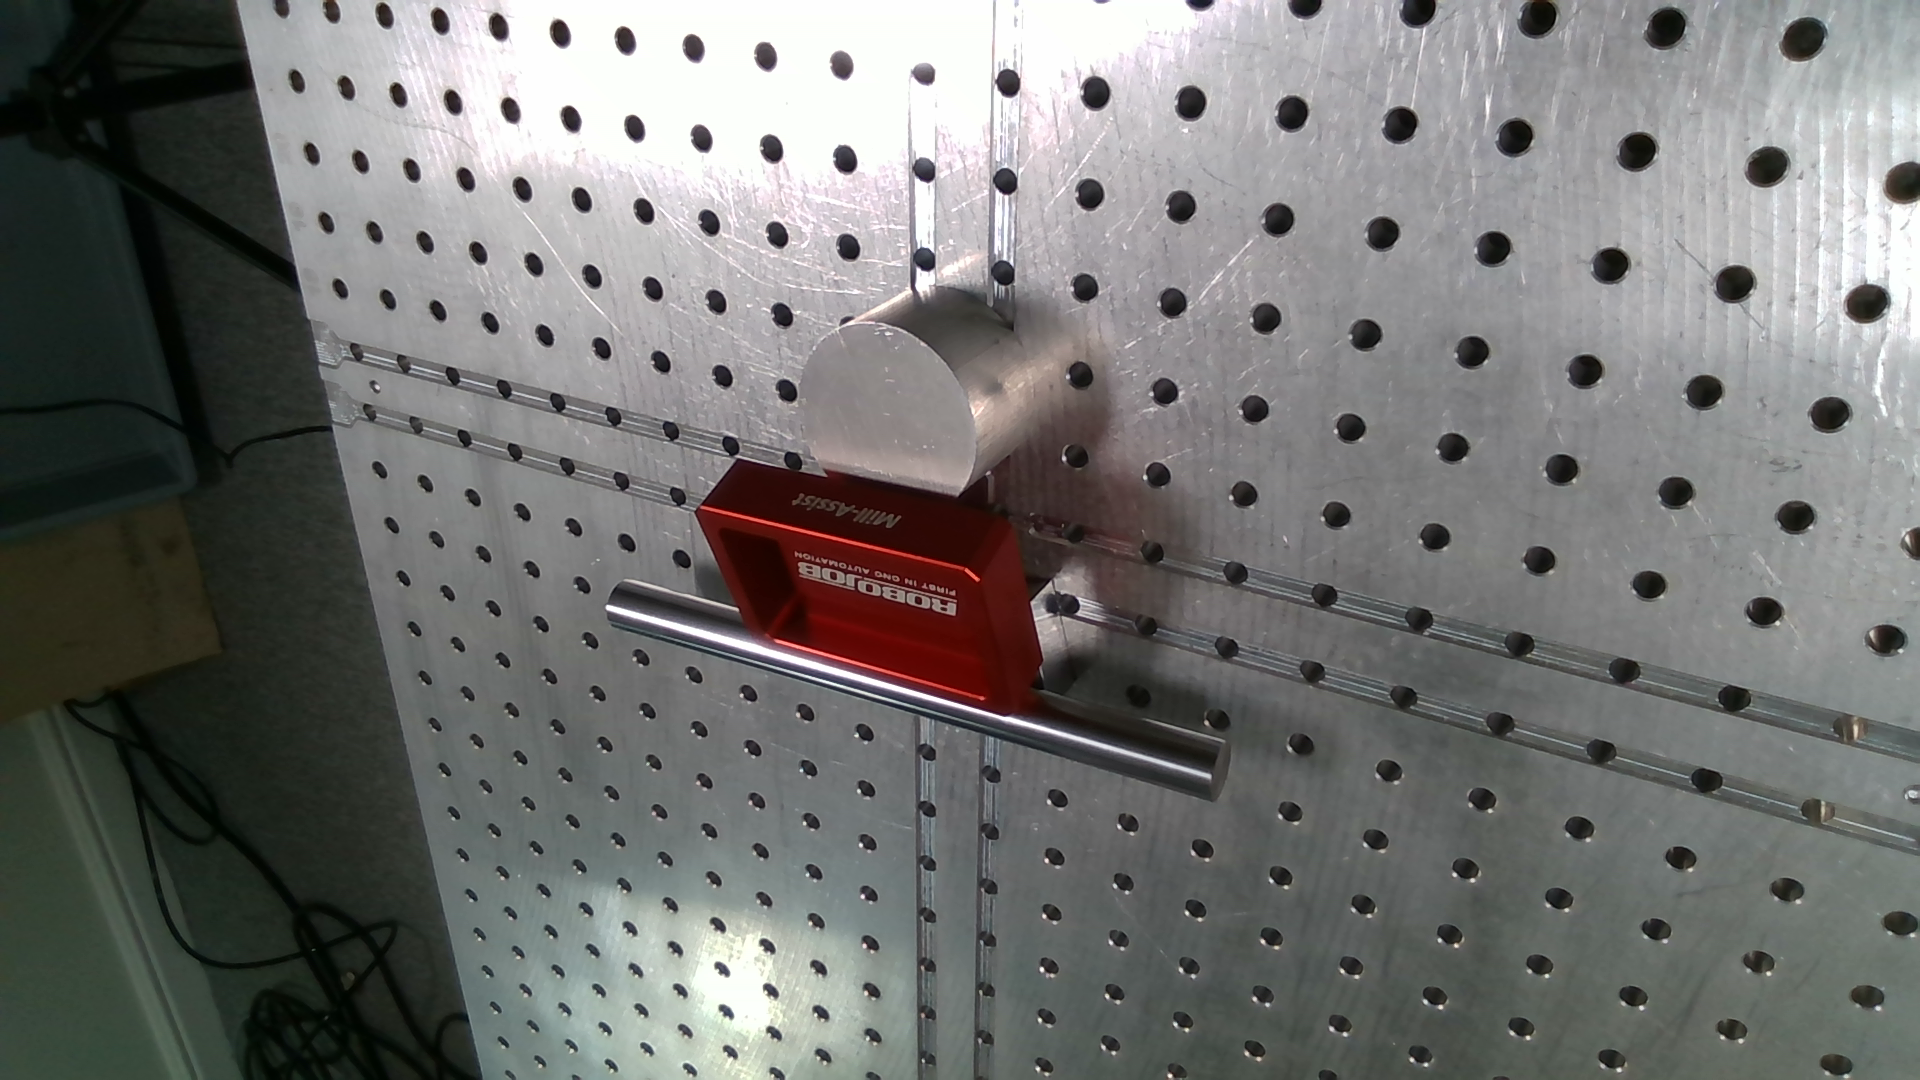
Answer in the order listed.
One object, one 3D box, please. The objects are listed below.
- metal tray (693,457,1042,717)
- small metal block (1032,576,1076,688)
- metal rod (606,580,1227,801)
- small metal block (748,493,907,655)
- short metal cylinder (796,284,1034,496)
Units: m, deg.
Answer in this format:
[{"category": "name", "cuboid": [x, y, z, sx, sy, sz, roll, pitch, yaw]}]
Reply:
[{"category": "metal tray", "cuboid": [-0.037, 0.019, 0.561, 0.130, 0.030, 0.090, 13, 141, 26]}, {"category": "small metal block", "cuboid": [0.018, 0.044, 0.596, 0.050, 0.025, 0.050, -1, 115, 32]}, {"category": "metal rod", "cuboid": [-0.031, 0.060, 0.602, 0.300, 0.025, 0.025, 13, 121, 25]}, {"category": "small metal block", "cuboid": [-0.061, 0.016, 0.628, 0.050, 0.025, 0.050, 46, 129, 2]}, {"category": "short metal cylinder", "cuboid": [-0.017, -0.056, 0.546, 0.080, 0.050, 0.080, 14, 122, 25]}]
